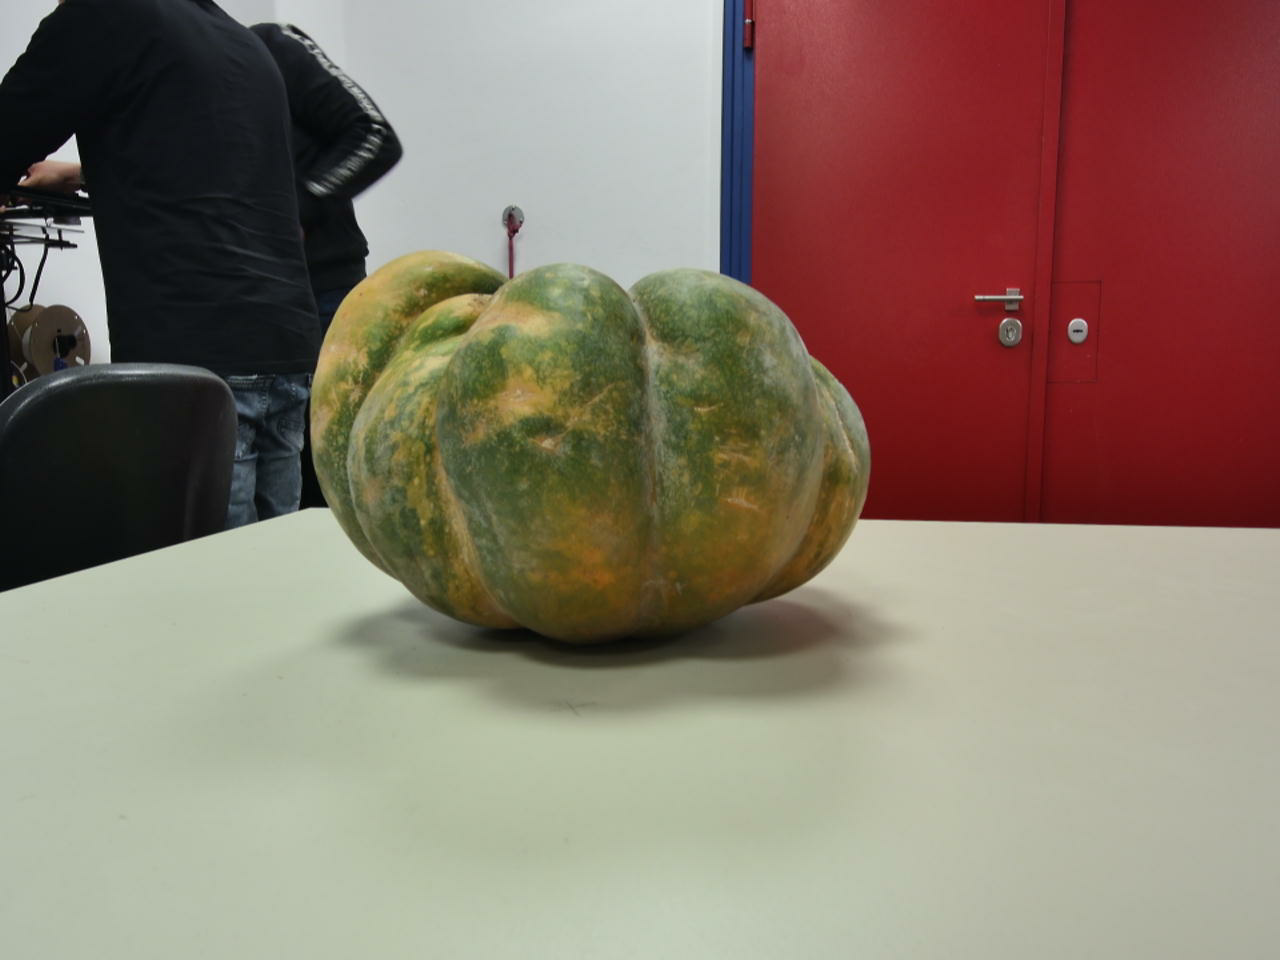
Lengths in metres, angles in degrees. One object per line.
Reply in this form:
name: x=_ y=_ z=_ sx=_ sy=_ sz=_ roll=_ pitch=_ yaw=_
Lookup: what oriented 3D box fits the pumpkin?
pumpkin: x=-0.024 y=-0.019 z=0.475 sx=0.237 sy=0.173 sz=0.270 roll=-4 pitch=6 yaw=-41
